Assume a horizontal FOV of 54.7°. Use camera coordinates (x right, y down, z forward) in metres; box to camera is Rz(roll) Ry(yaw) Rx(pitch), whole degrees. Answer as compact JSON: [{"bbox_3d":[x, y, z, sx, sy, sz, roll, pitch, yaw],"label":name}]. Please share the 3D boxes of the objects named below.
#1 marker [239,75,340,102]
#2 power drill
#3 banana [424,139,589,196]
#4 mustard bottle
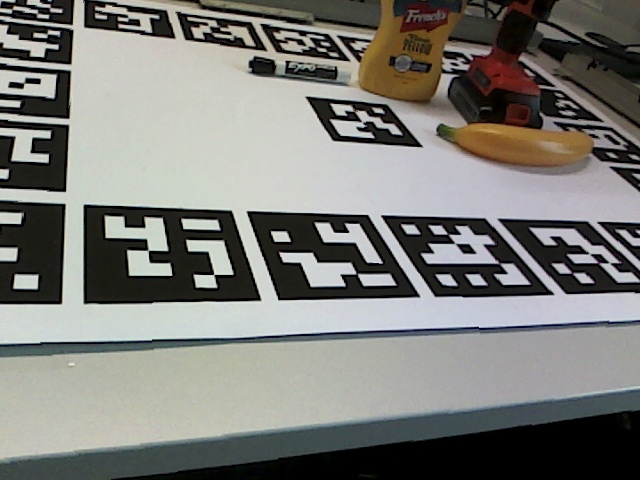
[{"bbox_3d":[-0.035,-0.179,0.730,0.120,0.019,0.020,2,39,-18],"label":"marker"},{"bbox_3d":[0.225,-0.208,0.692,0.057,0.187,0.185,11,34,-10],"label":"power drill"},{"bbox_3d":[0.216,-0.078,0.680,0.197,0.039,0.074,5,39,-12],"label":"banana"},{"bbox_3d":[0.105,-0.238,0.715,0.096,0.191,0.058,9,37,-12],"label":"mustard bottle"}]
